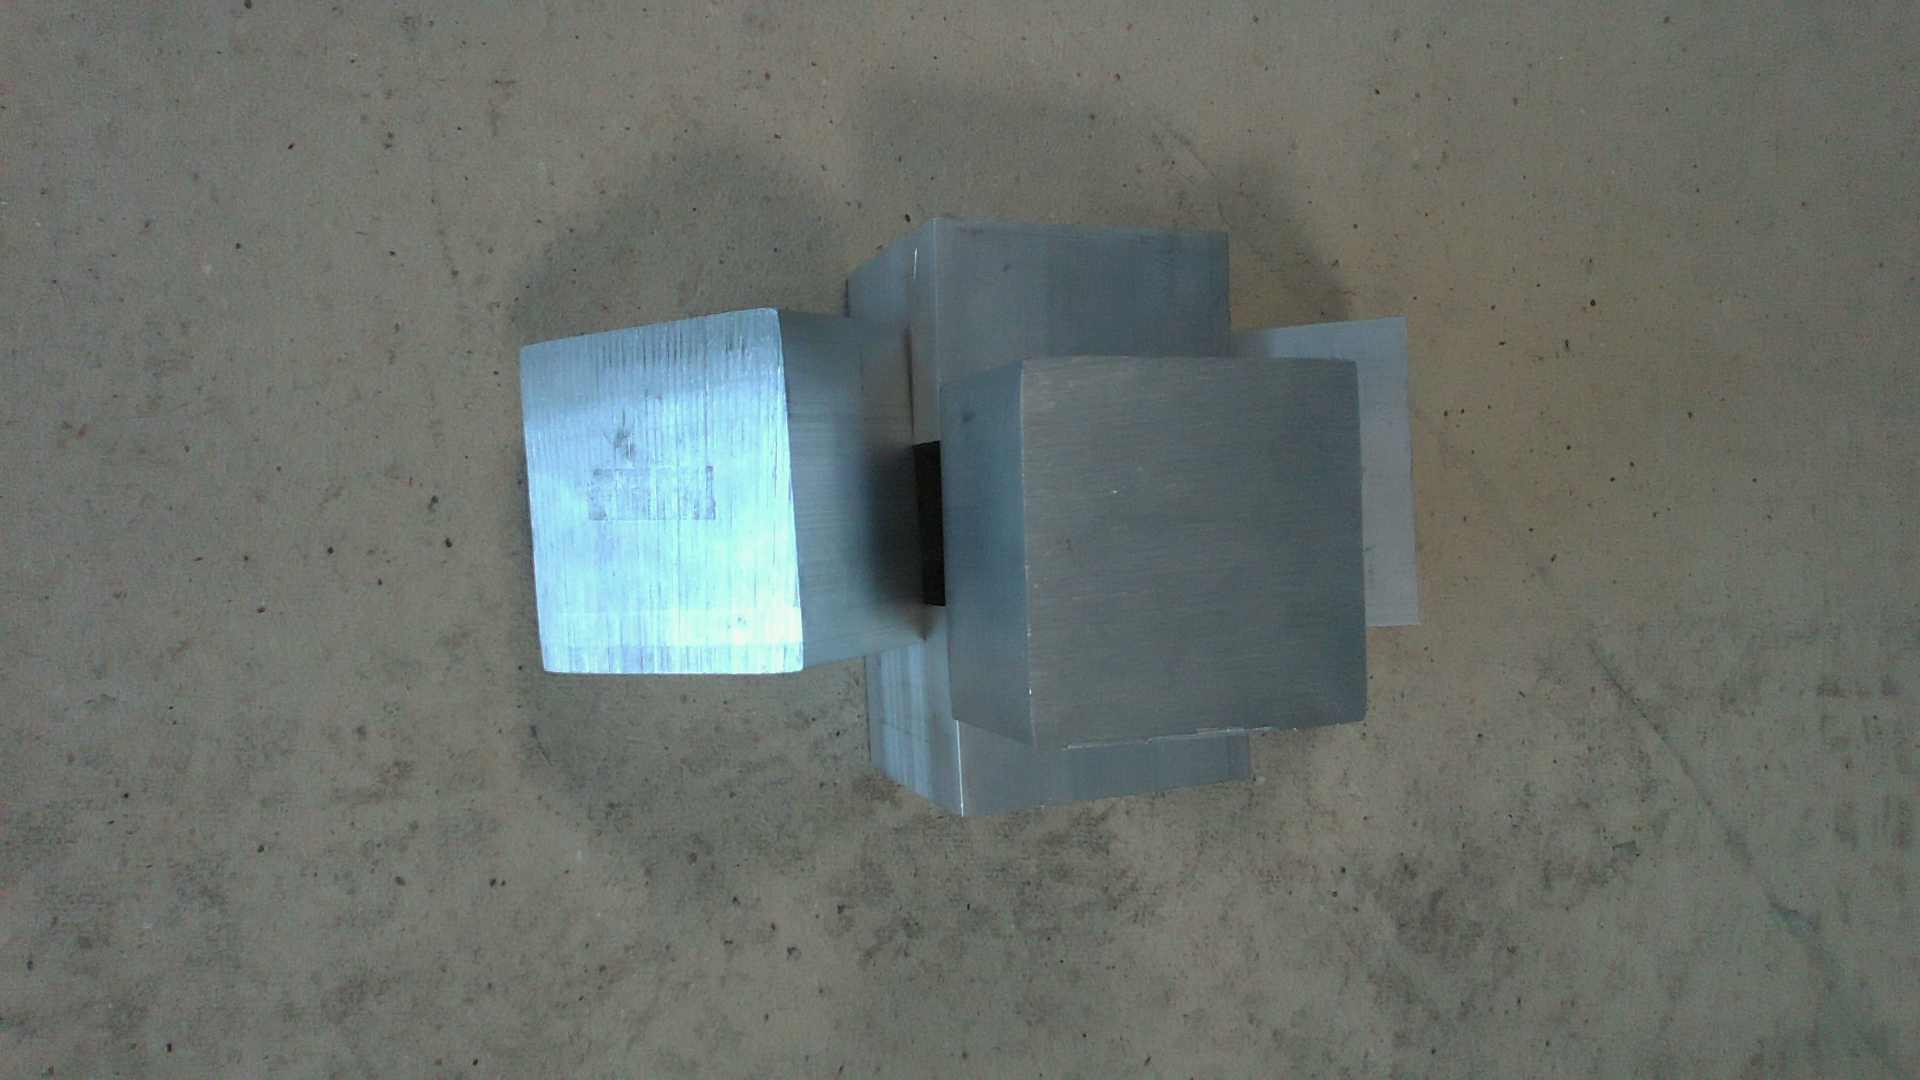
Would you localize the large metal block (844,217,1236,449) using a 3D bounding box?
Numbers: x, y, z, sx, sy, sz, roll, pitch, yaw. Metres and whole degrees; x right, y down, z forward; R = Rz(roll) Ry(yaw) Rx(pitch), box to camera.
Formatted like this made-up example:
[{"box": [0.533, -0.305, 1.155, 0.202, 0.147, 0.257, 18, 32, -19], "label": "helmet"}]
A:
[{"box": [0.019, -0.052, 0.371, 0.080, 0.080, 0.050, -2, 91, -20], "label": "large metal block"}]

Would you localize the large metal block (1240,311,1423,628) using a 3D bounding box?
[{"box": [0.101, -0.018, 0.393, 0.050, 0.080, 0.080, -3, 91, 15], "label": "large metal block"}]

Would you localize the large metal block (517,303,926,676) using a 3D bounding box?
[{"box": [-0.058, -0.010, 0.336, 0.050, 0.080, 0.080, -5, 92, -60], "label": "large metal block"}]

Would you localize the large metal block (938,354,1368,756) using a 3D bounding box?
[{"box": [0.042, 0.002, 0.311, 0.080, 0.050, 0.080, -2, 91, -20], "label": "large metal block"}]

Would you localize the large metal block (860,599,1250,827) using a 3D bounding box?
[{"box": [0.022, 0.040, 0.374, 0.080, 0.080, 0.050, -4, 92, -19], "label": "large metal block"}]
